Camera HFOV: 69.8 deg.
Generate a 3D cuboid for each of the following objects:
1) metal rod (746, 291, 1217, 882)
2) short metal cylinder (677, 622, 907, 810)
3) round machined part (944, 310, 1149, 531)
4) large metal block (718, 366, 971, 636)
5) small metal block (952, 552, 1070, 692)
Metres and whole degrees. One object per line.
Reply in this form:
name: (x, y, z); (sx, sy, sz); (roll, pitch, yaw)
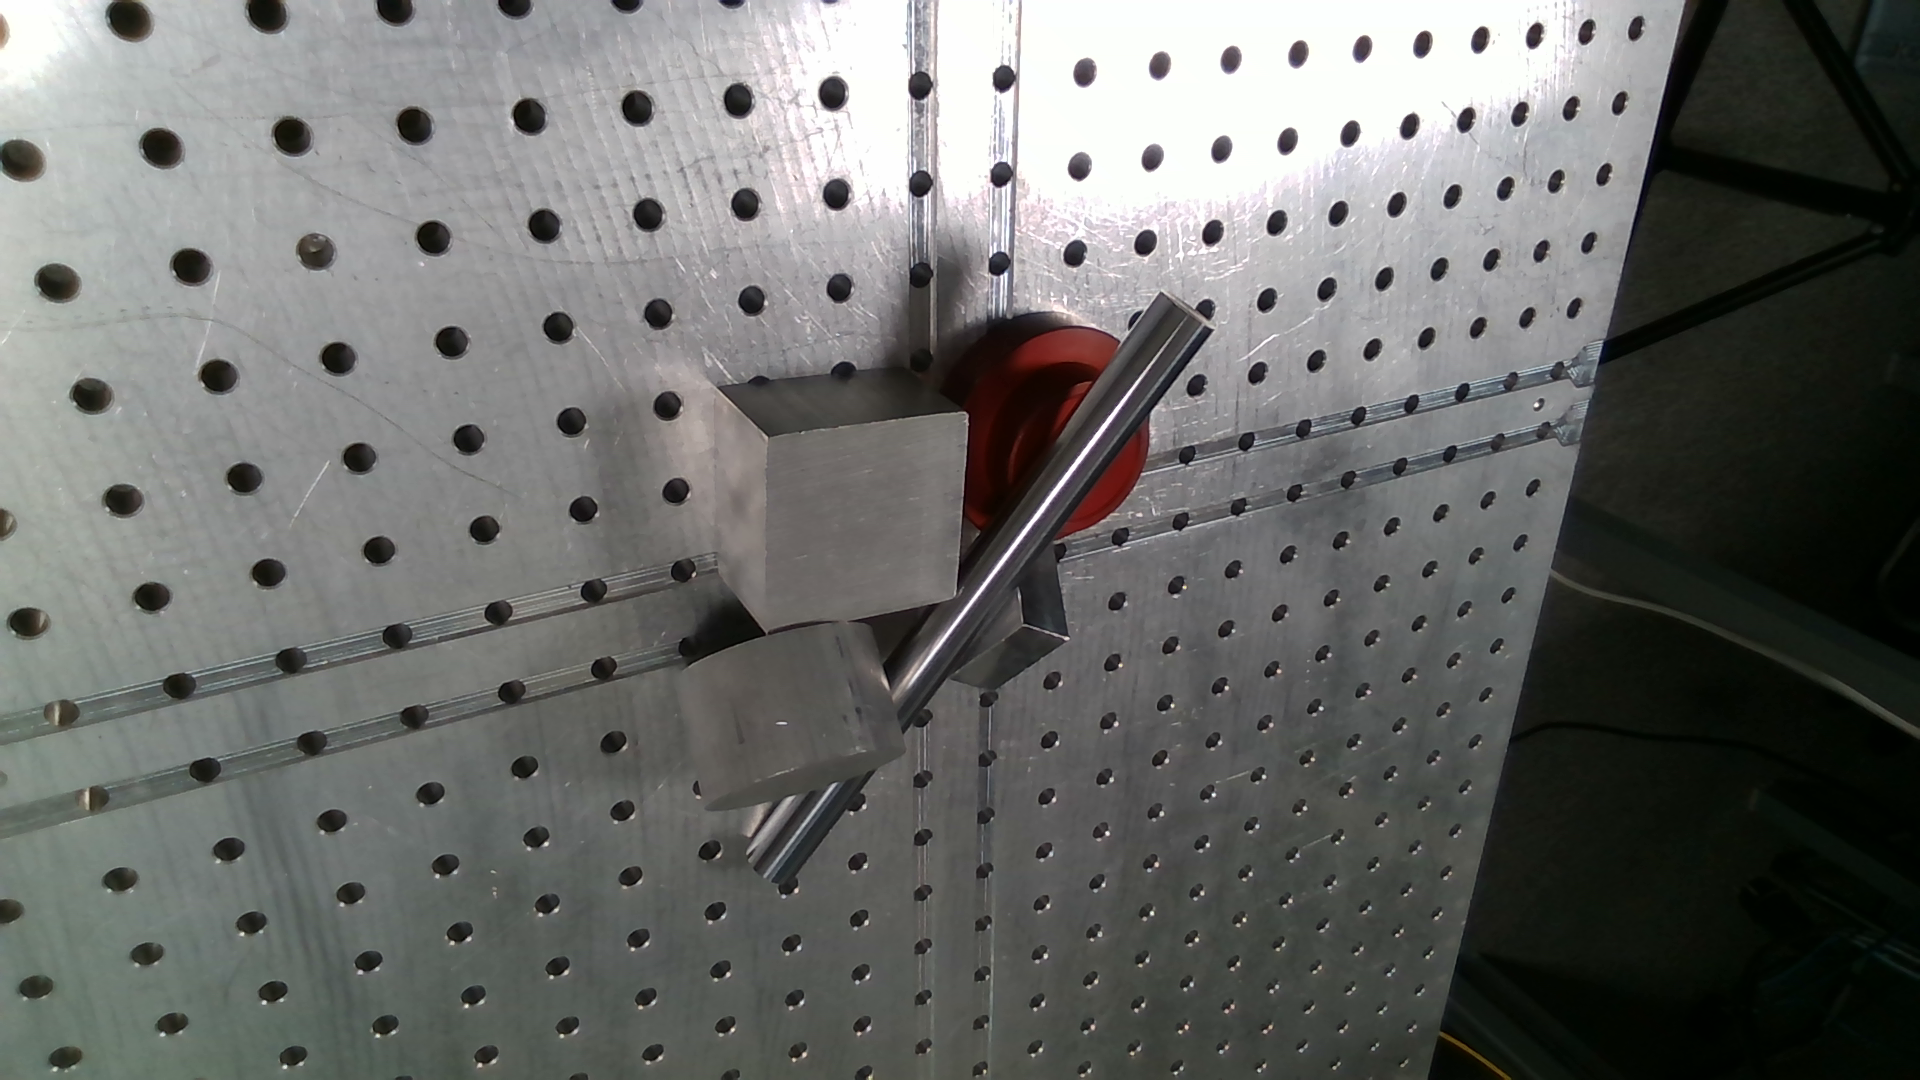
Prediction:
metal rod: (0.000, 0.028, 0.558); (0.025, 0.025, 0.301); (20, 116, -37)
short metal cylinder: (-0.066, 0.069, 0.537); (0.080, 0.050, 0.080); (-16, 166, -4)
round machined part: (0.039, -0.042, 0.574); (0.098, 0.042, 0.098); (-14, 122, -25)
large metal block: (-0.046, -0.017, 0.527); (0.080, 0.050, 0.080); (-10, 120, -27)
small metal block: (0.017, 0.029, 0.581); (0.025, 0.050, 0.050); (19, 138, -34)
